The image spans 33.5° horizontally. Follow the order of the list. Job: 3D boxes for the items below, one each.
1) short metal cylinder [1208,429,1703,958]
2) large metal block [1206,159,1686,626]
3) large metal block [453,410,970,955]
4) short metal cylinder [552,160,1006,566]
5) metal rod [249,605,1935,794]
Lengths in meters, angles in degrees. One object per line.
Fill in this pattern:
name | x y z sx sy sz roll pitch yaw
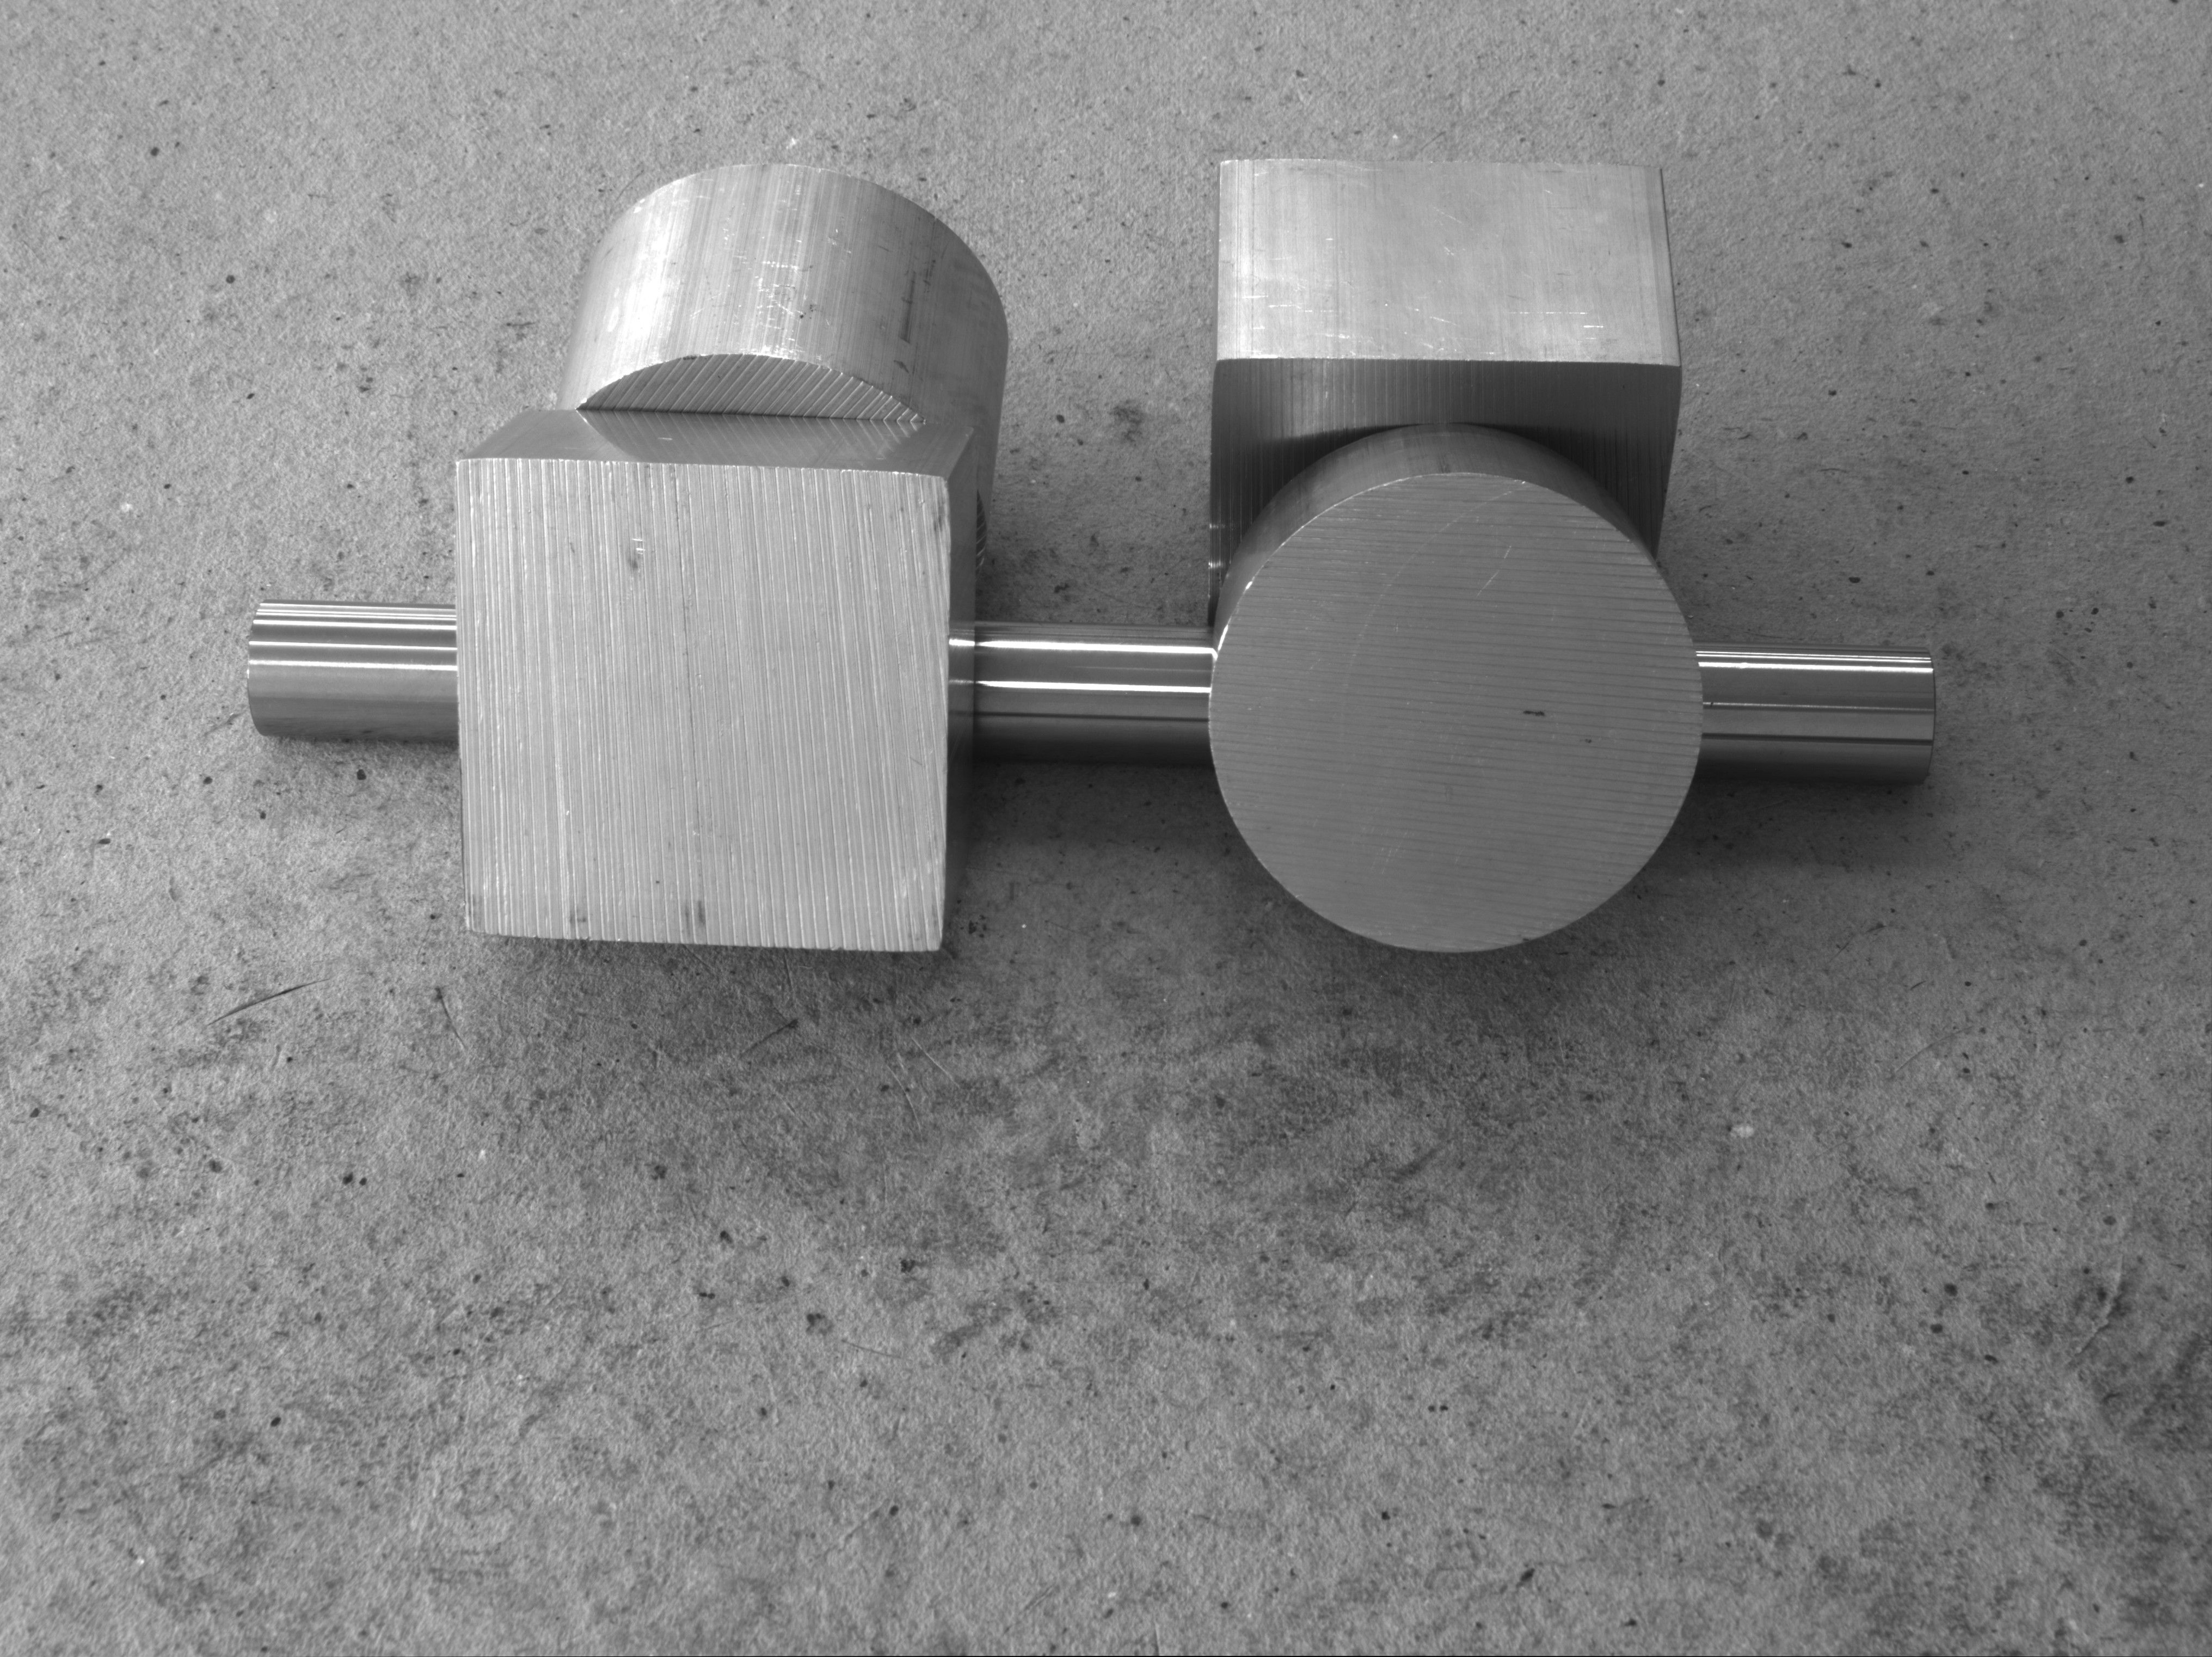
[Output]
short metal cylinder | 0.057 -0.024 0.619 0.080 0.080 0.050 1 15 1
large metal block | 0.059 -0.074 0.668 0.080 0.080 0.050 1 50 1
large metal block | -0.065 -0.026 0.621 0.080 0.080 0.050 2 16 2
short metal cylinder | -0.060 -0.074 0.669 0.080 0.080 0.050 3 50 2
metal rod | -0.003 -0.024 0.665 0.300 0.025 0.025 2 50 2
